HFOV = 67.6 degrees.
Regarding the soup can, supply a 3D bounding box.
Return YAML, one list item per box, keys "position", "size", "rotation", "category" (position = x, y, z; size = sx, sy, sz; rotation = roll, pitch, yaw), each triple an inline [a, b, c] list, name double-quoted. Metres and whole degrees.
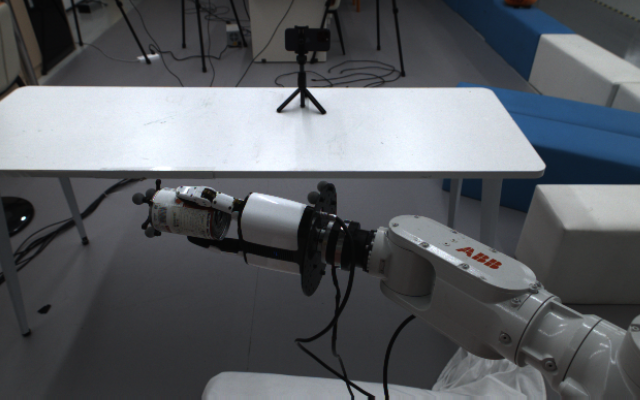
- position: [-0.189, 0.021, 0.718]
  size: [0.101, 0.067, 0.067]
  rotation: [8, 35, 10]
  category: "soup can"
